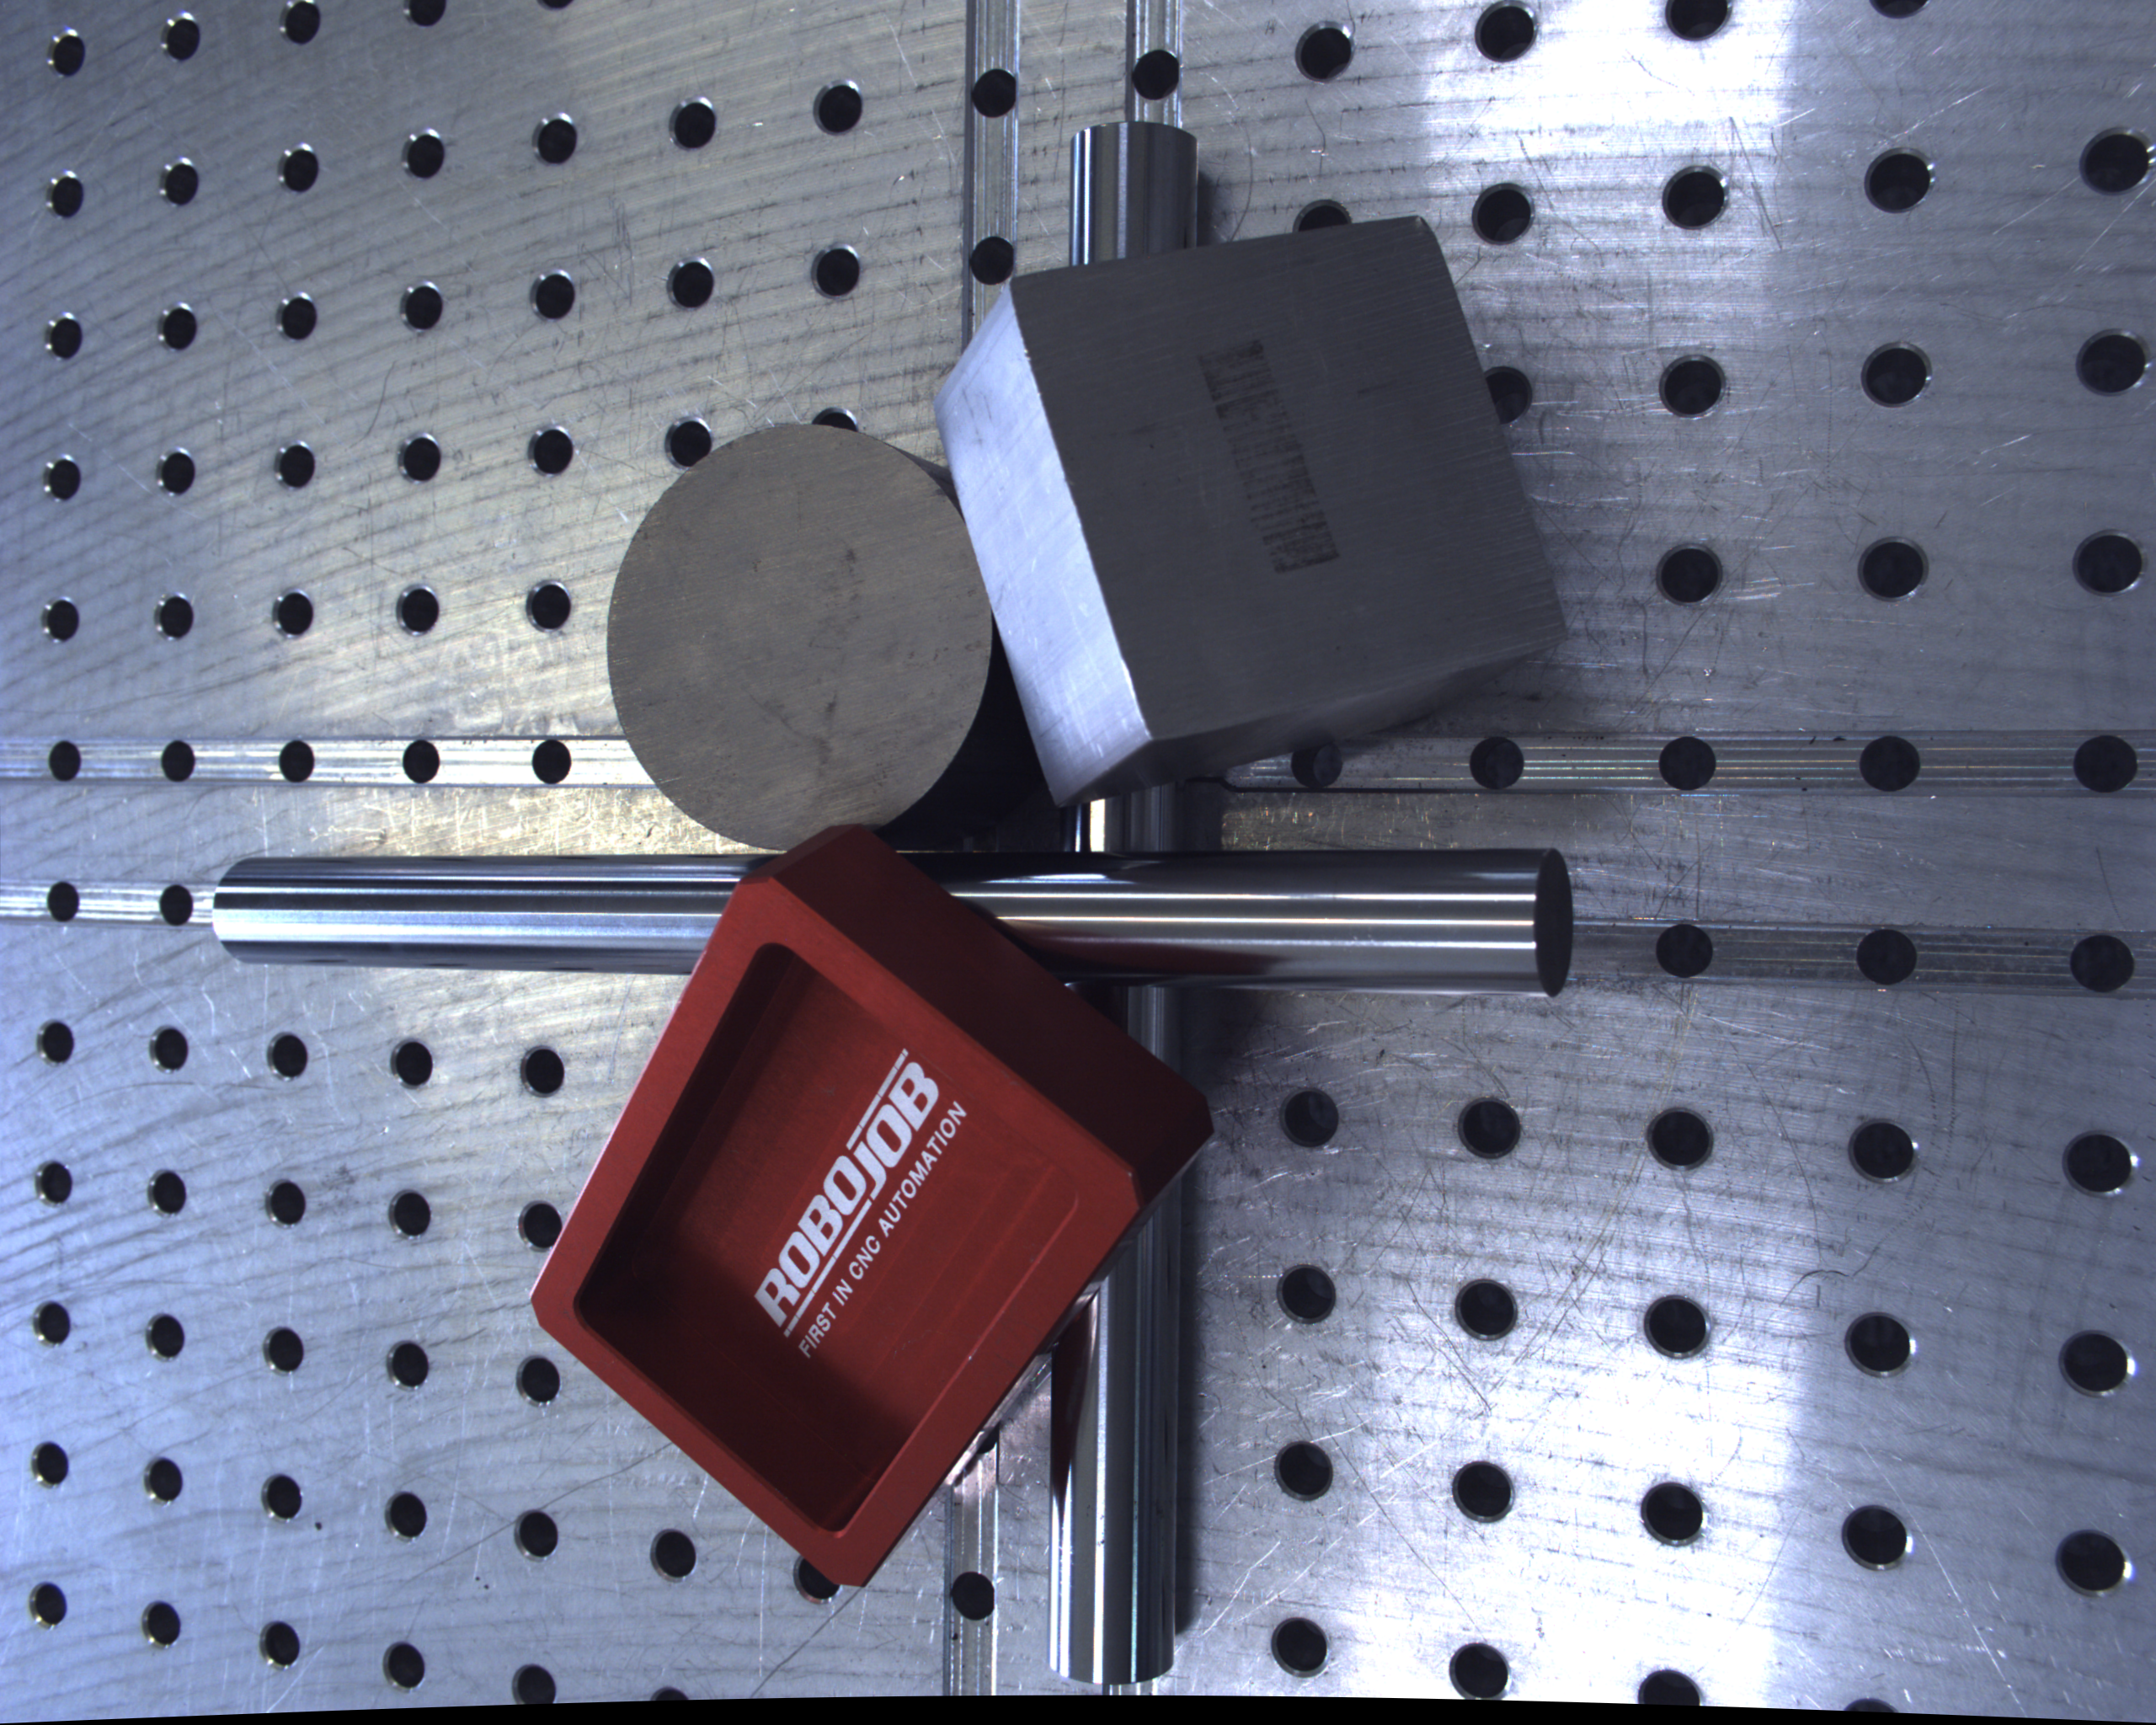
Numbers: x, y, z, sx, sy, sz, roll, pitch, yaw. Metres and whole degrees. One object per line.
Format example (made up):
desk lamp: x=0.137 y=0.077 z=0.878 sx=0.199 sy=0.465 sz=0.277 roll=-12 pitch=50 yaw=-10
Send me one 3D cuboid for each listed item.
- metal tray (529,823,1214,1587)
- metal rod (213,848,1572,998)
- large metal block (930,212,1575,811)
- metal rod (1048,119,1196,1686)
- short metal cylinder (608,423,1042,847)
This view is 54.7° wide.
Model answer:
metal tray: x=-0.044 y=0.068 z=0.398 sx=0.090 sy=0.030 sz=0.129 roll=38 pitch=123 yaw=10
metal rod: x=-0.055 y=0.011 z=0.414 sx=0.300 sy=0.025 sz=0.025 roll=0 pitch=90 yaw=27
large metal block: x=0.029 y=-0.061 z=0.368 sx=0.081 sy=0.050 sz=0.080 roll=-15 pitch=84 yaw=-21
metal rod: x=0.009 y=0.008 z=0.409 sx=0.025 sy=0.025 sz=0.298 roll=1 pitch=91 yaw=20
short metal cylinder: x=-0.045 y=-0.043 z=0.415 sx=0.080 sy=0.050 sz=0.079 roll=0 pitch=90 yaw=20
